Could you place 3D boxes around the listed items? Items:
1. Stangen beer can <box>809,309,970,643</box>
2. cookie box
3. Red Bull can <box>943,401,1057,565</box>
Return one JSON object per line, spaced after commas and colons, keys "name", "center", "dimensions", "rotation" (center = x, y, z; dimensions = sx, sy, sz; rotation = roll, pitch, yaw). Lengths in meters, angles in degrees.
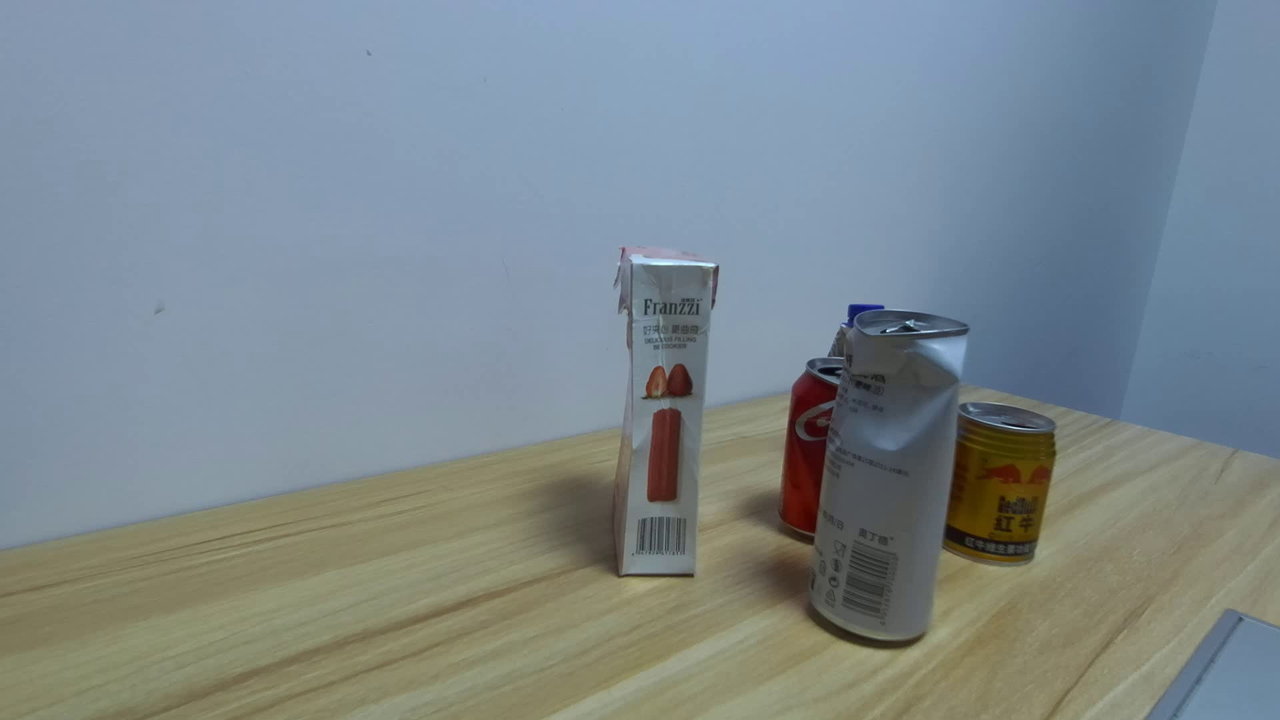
{"name": "Stangen beer can", "center": [0.127, 0.060, 0.366], "dimensions": [0.066, 0.166, 0.066], "rotation": [8, 15, 19]}
{"name": "cookie box", "center": [0.010, 0.028, 0.432], "dimensions": [0.059, 0.186, 0.105], "rotation": [5, 13, -4]}
{"name": "Red Bull can", "center": [0.236, 0.082, 0.475], "dimensions": [0.067, 0.093, 0.067], "rotation": [5, 11, -1]}
